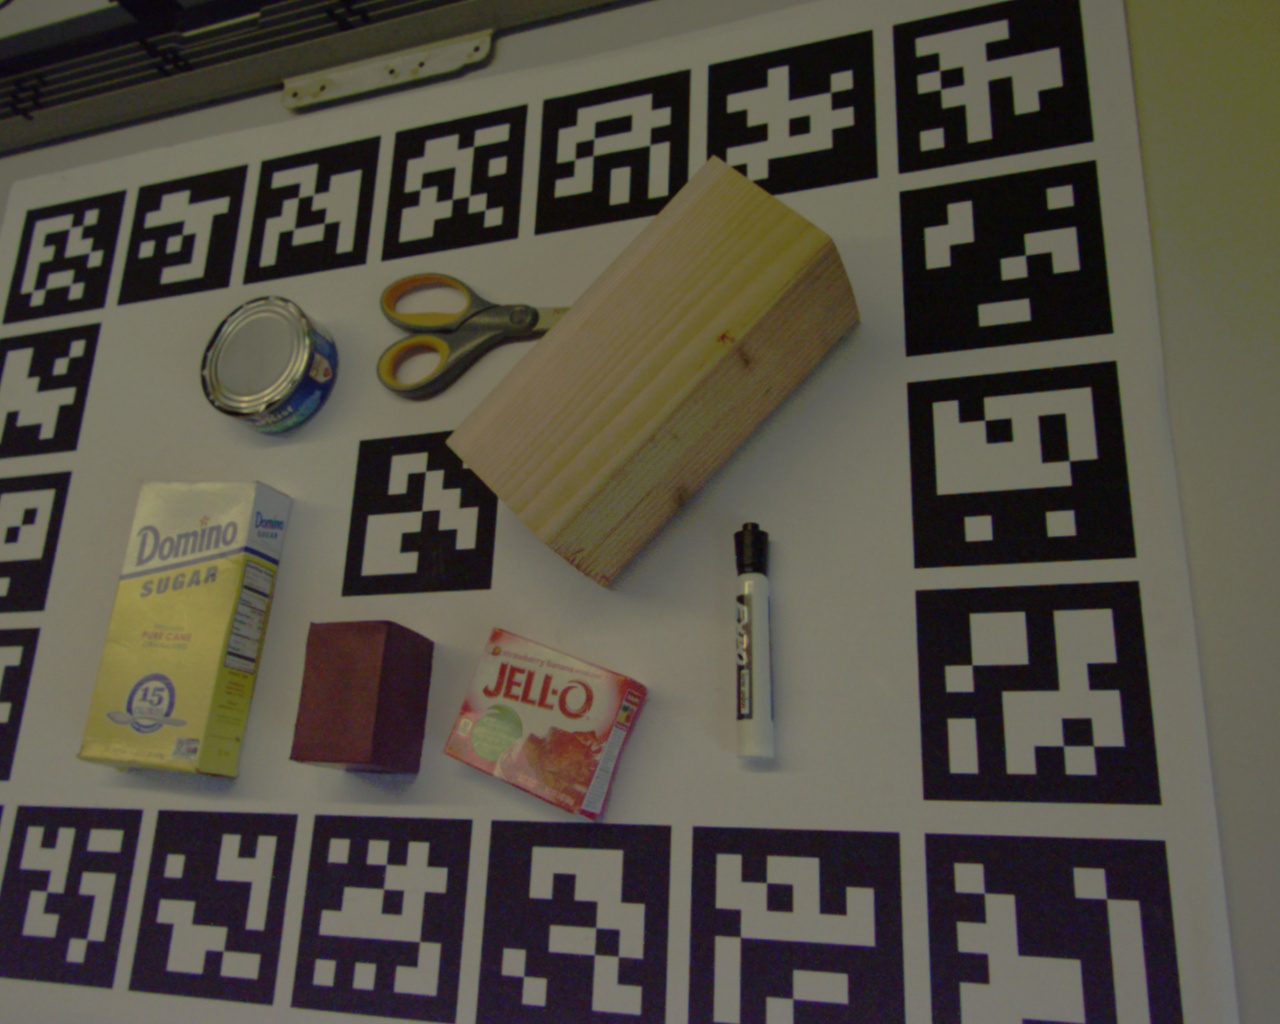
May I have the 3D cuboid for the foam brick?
[{"bbox_3d":[-0.155,0.114,0.679,0.053,0.051,0.078,-3,74,21],"label":"foam brick"}]

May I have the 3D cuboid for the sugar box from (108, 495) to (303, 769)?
[{"bbox_3d":[-0.284,0.078,0.750,0.094,0.045,0.176,0,74,21],"label":"sugar box"}]

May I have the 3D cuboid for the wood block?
[{"bbox_3d":[0.010,-0.061,0.653,0.206,0.090,0.091,-48,63,1],"label":"wood block"}]

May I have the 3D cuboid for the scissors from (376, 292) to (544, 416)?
[{"bbox_3d":[-0.088,-0.104,0.743,0.205,0.015,0.088,3,75,24],"label":"scissors"}]

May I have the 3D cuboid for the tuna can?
[{"bbox_3d":[-0.255,-0.086,0.790,0.086,0.033,0.086,-6,73,20],"label":"tuna can"}]

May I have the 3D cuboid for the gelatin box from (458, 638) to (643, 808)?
[{"bbox_3d":[-0.052,0.119,0.653,0.090,0.030,0.073,15,81,25],"label":"gelatin box"}]

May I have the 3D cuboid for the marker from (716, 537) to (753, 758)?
[{"bbox_3d":[0.053,0.074,0.629,0.020,0.019,0.121,-3,75,20],"label":"marker"}]
